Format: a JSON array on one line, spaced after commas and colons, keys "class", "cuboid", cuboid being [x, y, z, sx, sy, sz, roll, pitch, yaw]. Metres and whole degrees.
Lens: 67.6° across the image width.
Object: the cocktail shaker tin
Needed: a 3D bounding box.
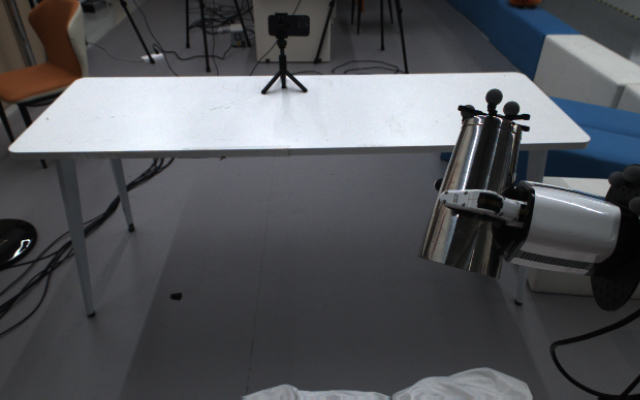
[{"class": "cocktail shaker tin", "cuboid": [0.179, -0.005, 0.555, 0.093, 0.170, 0.093, 16, -4, 1]}]
